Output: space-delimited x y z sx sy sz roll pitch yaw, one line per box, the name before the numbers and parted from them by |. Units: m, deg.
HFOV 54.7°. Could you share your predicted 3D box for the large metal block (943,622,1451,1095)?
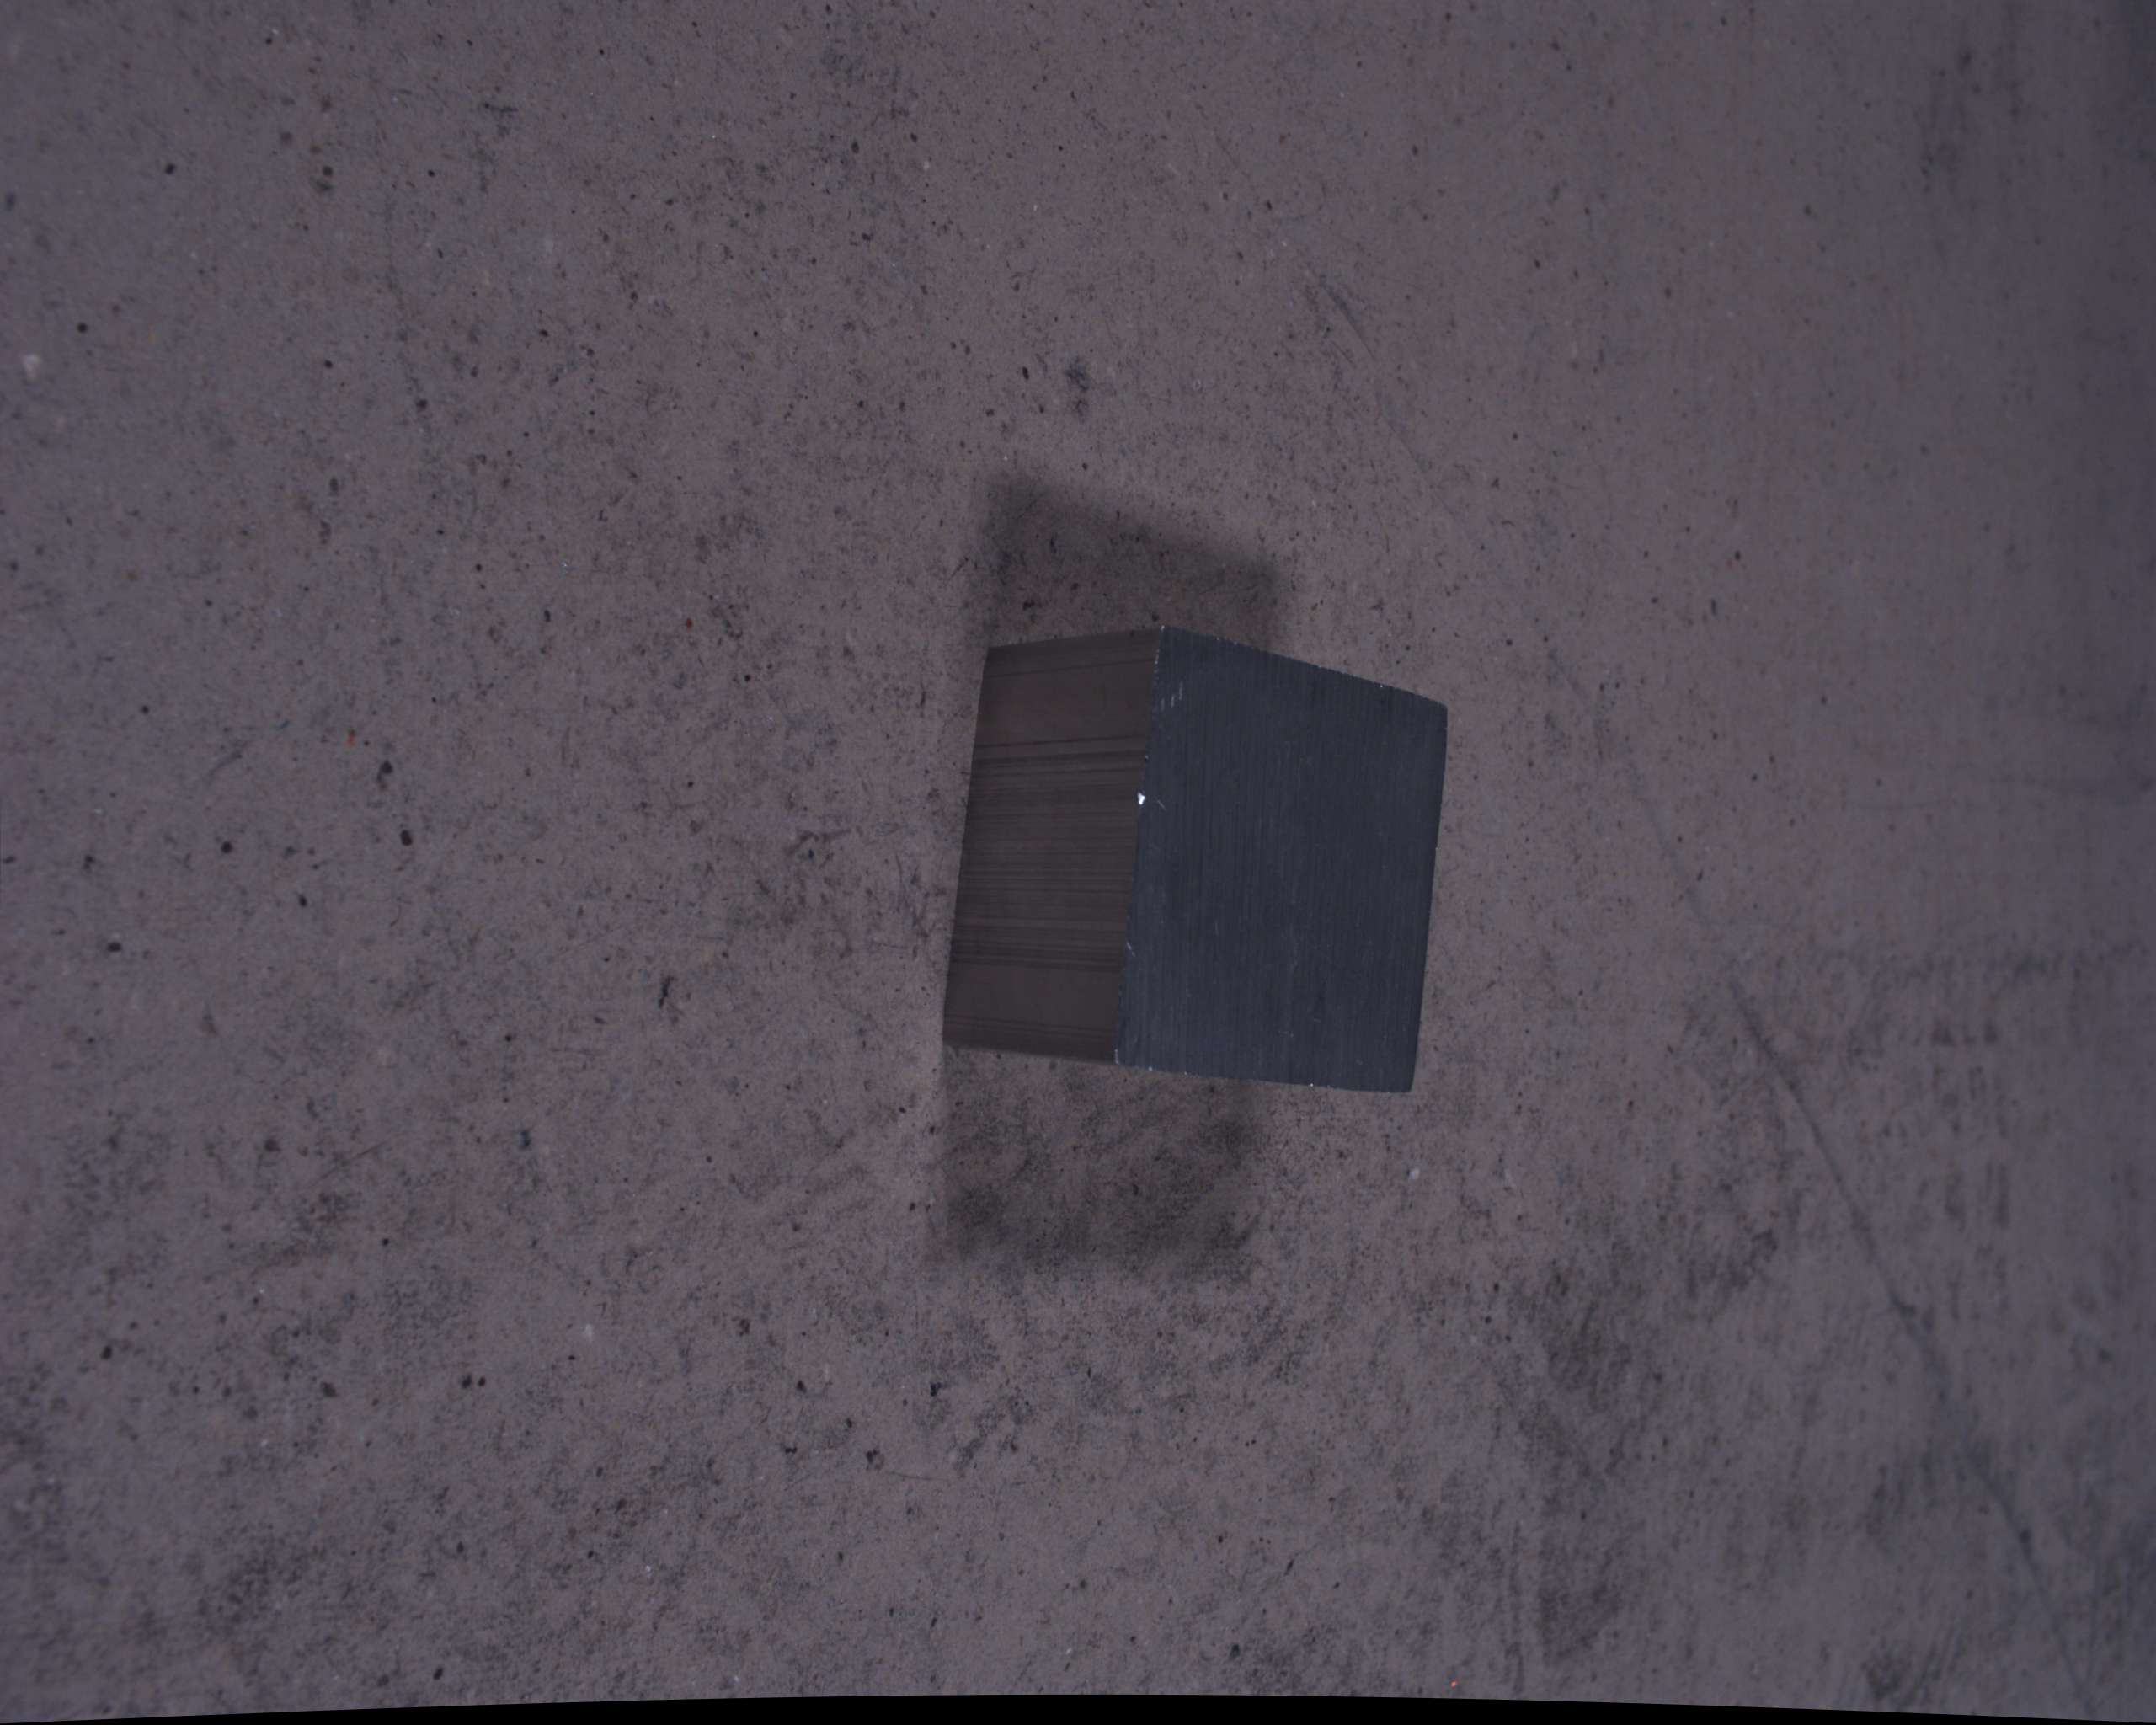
large metal block | 0.025 0.002 0.413 0.081 0.050 0.080 10 84 -40
